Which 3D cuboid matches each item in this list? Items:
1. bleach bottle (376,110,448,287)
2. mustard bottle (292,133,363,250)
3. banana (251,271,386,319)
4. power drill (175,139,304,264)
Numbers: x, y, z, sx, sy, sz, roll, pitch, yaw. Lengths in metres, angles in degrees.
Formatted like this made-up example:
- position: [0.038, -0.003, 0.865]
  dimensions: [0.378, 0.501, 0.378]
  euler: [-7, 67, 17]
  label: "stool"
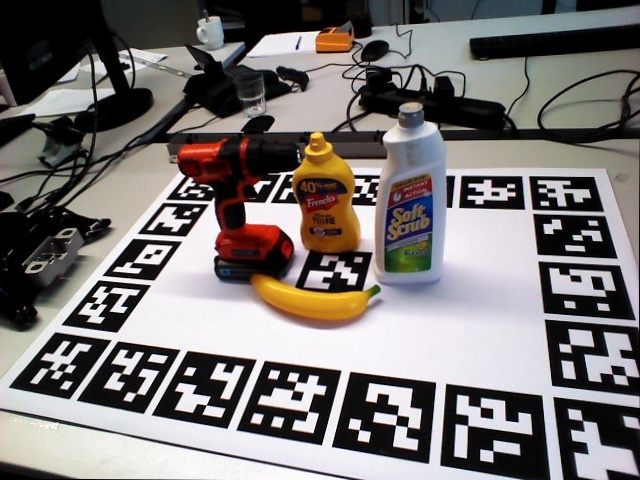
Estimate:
- position: [0.116, -0.048, 0.681]
  dimensions: [0.103, 0.251, 0.067]
  euler: [-2, 40, 10]
  label: "bleach bottle"
- position: [0.009, -0.074, 0.774]
  dimensions: [0.097, 0.192, 0.058]
  euler: [4, 40, 16]
  label: "mustard bottle"
- position: [-0.012, 0.073, 0.715]
  dimensions: [0.198, 0.039, 0.073]
  euler: [4, 44, 21]
  label: "banana"
- position: [-0.107, -0.056, 0.749]
  dimensions: [0.185, 0.187, 0.057]
  euler: [3, 33, 13]
  label: "power drill"
